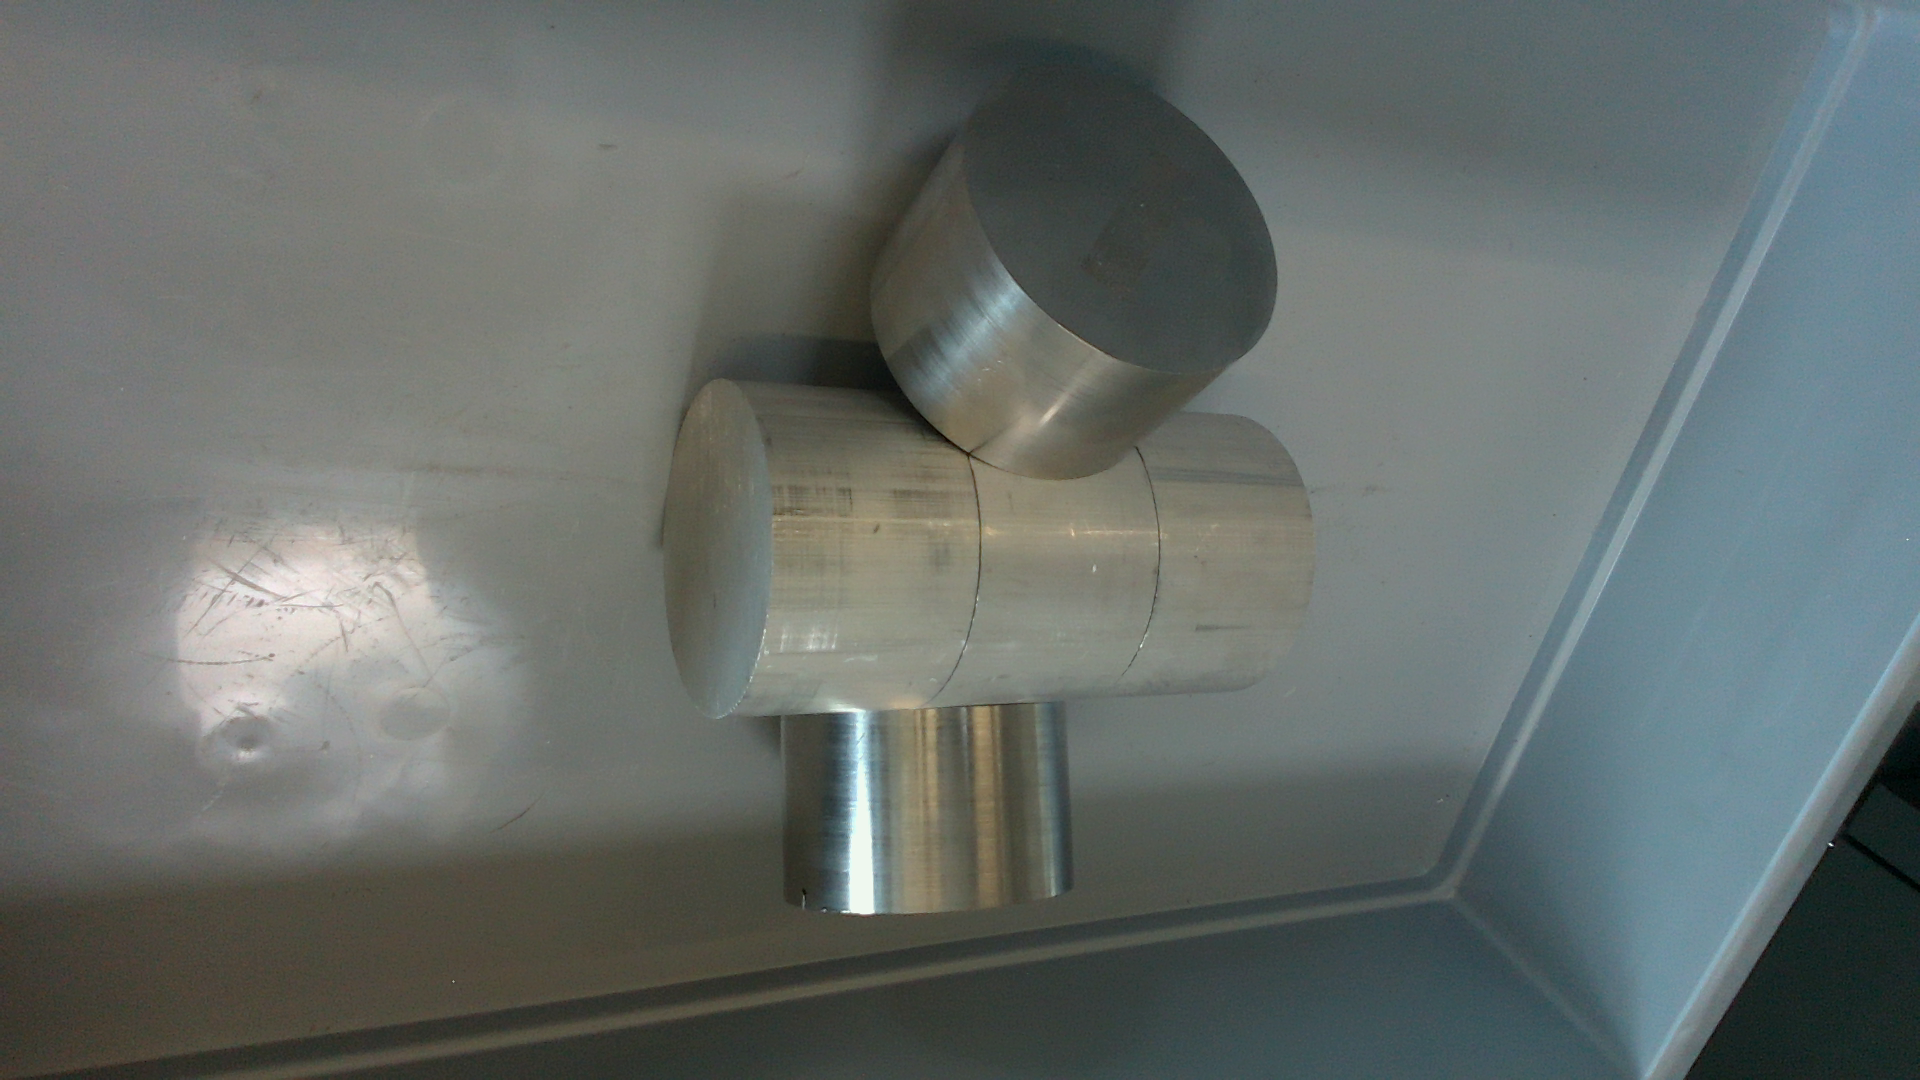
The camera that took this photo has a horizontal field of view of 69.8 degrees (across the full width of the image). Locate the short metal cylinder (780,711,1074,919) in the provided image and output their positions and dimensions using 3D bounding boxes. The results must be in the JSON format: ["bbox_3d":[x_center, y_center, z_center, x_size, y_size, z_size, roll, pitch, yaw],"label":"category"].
[{"bbox_3d":[-0.010,0.072,0.382,0.080,0.080,0.050,0,84,-28],"label":"short metal cylinder"}]

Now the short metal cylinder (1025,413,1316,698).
[{"bbox_3d":[0.052,0.004,0.383,0.050,0.080,0.080,1,118,-28],"label":"short metal cylinder"}]

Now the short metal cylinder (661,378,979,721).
[{"bbox_3d":[-0.037,0.003,0.334,0.050,0.080,0.080,1,118,-28],"label":"short metal cylinder"}]

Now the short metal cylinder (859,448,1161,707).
[{"bbox_3d":[0.008,0.003,0.358,0.050,0.080,0.080,1,118,-28],"label":"short metal cylinder"}]

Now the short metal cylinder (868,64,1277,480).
[{"bbox_3d":[0.025,-0.061,0.319,0.080,0.080,0.050,2,156,-29],"label":"short metal cylinder"}]
